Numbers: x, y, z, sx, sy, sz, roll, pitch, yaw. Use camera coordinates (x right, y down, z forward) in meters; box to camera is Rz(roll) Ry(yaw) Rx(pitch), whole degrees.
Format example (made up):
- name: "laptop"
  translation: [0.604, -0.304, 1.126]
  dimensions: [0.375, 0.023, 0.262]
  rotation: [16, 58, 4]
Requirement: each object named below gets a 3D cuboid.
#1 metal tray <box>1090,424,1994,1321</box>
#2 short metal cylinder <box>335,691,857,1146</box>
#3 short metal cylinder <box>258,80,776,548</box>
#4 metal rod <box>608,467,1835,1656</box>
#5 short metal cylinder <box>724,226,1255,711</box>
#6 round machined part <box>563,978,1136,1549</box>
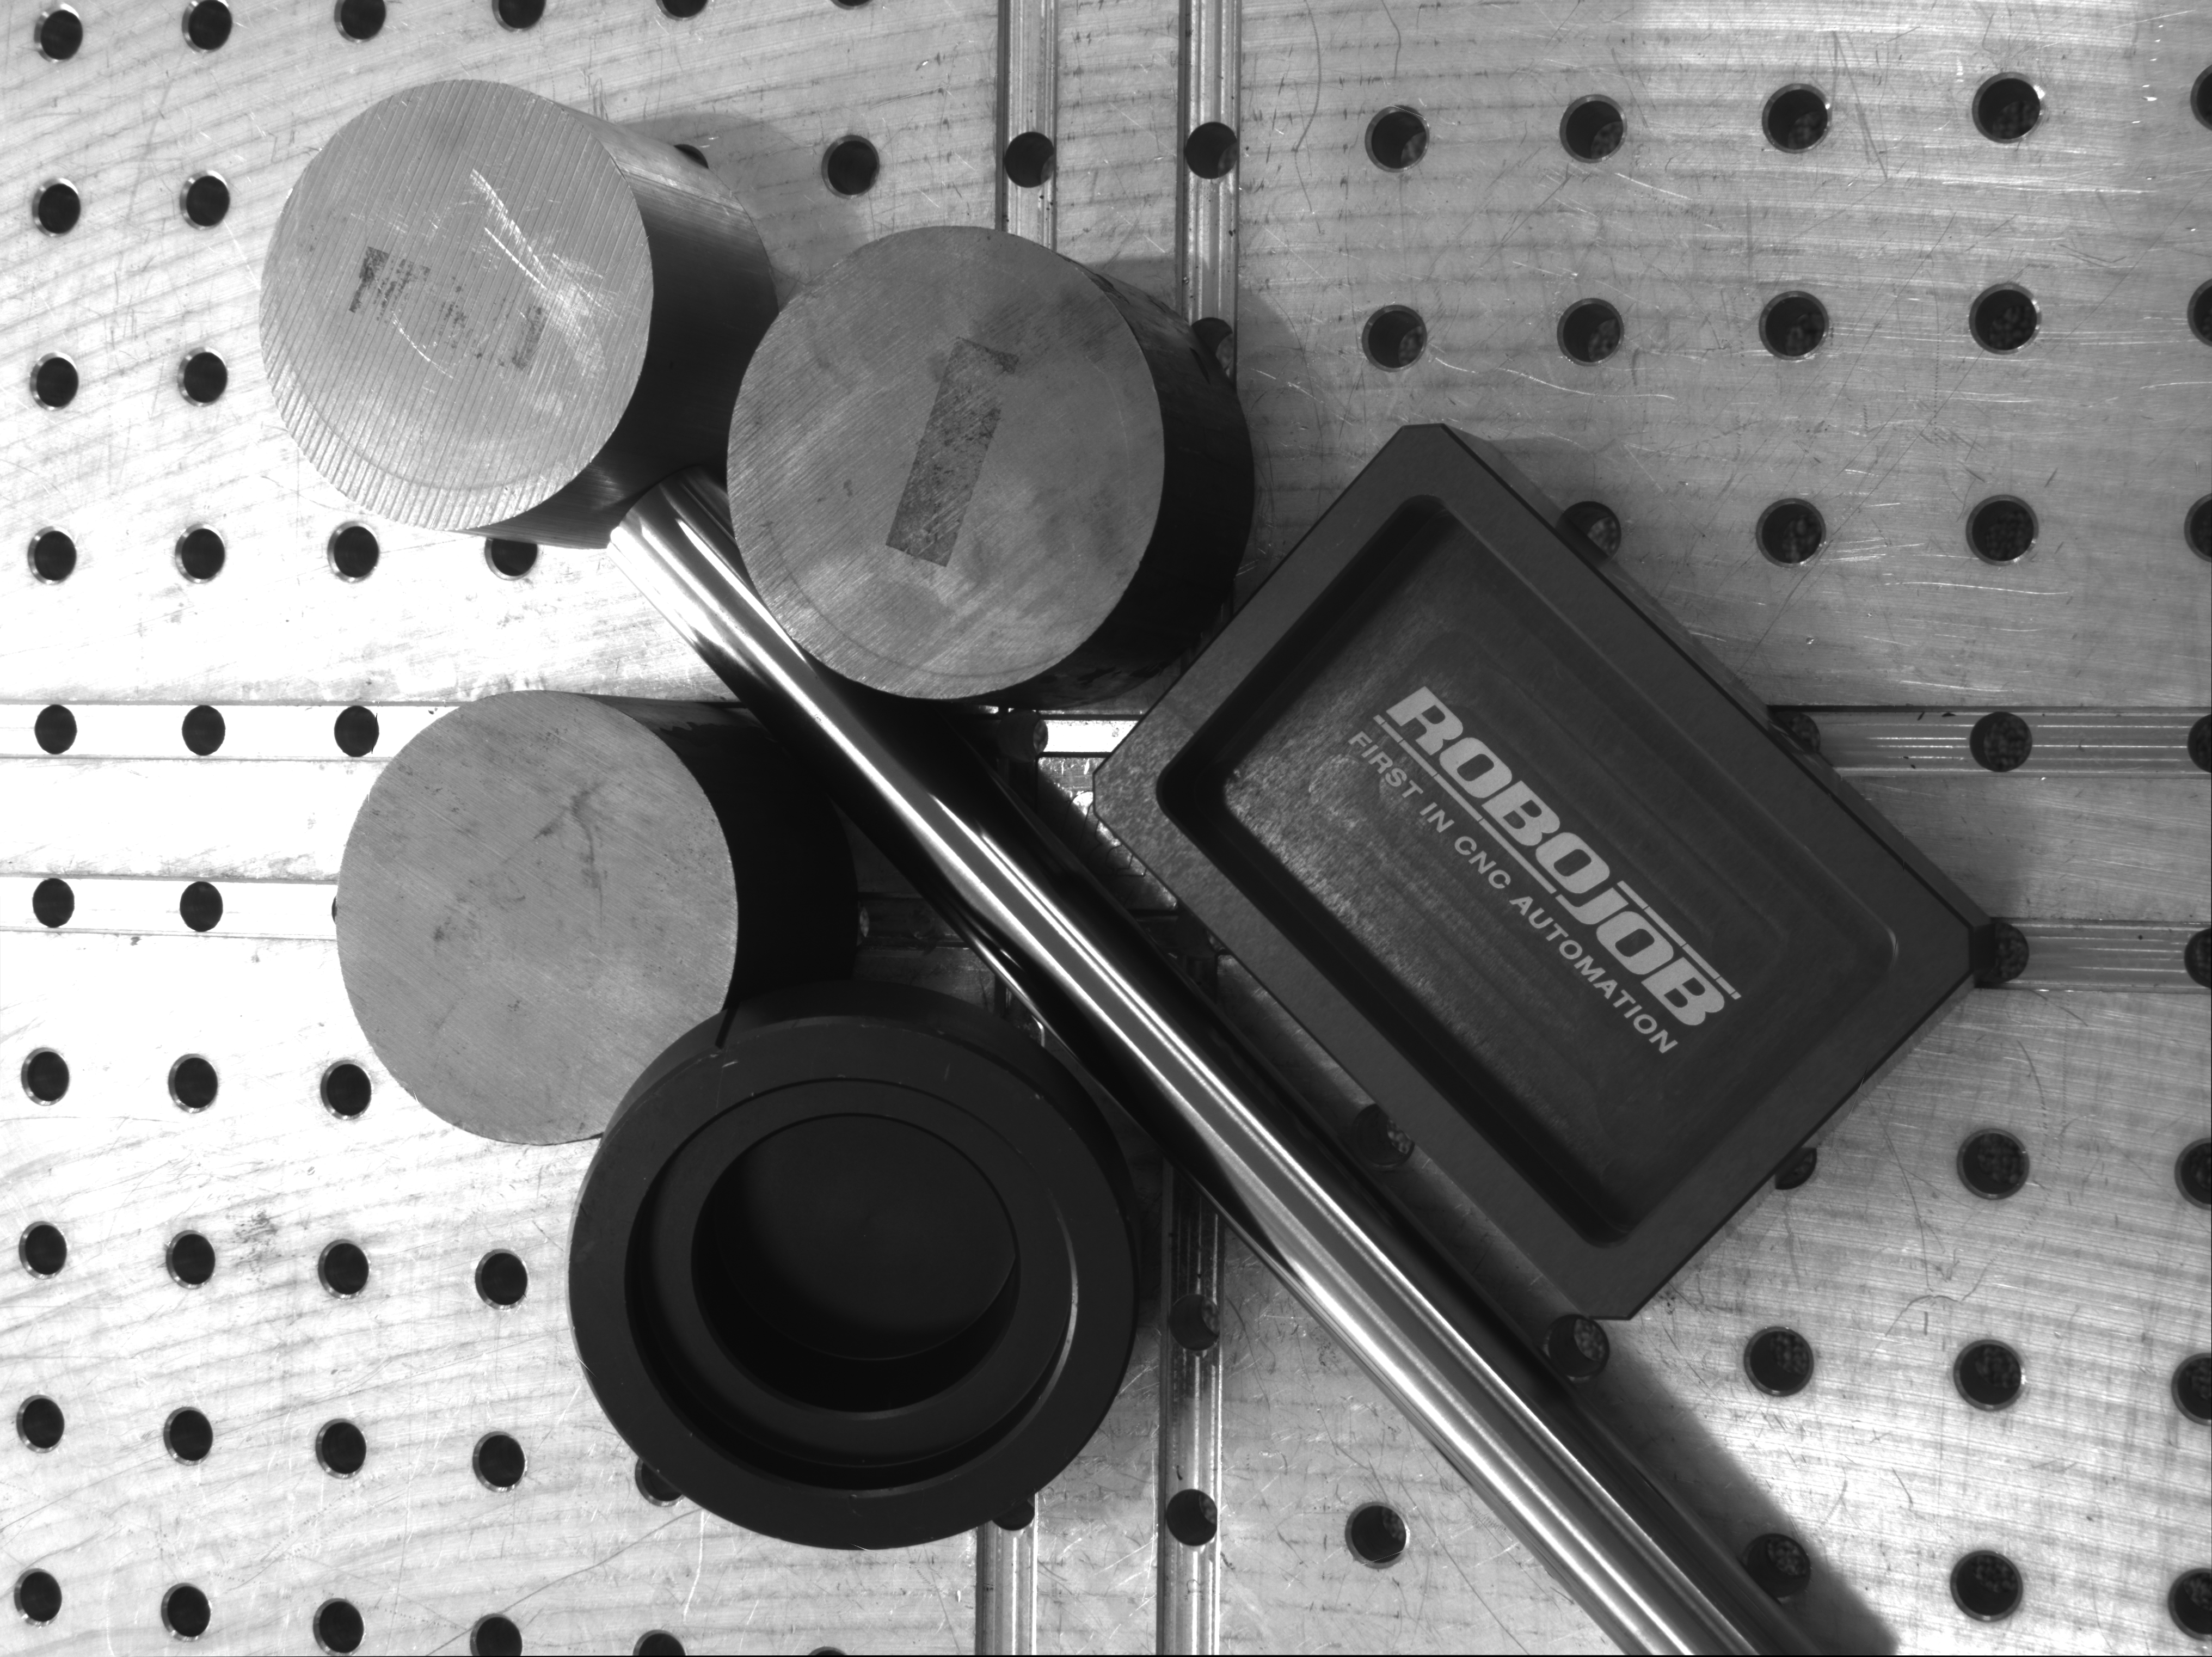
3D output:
- name: "metal tray"
  translation: [0.072, 0.007, 0.619]
  dimensions: [0.130, 0.030, 0.090]
  rotation: [45, 105, 14]
- name: "short metal cylinder"
  translation: [-0.092, 0.016, 0.669]
  dimensions: [0.080, 0.050, 0.080]
  rotation: [0, 90, 20]
- name: "short metal cylinder"
  translation: [-0.107, -0.093, 0.675]
  dimensions: [0.080, 0.050, 0.080]
  rotation: [0, 90, 20]
- name: "metal rod"
  translation: [0.018, 0.047, 0.642]
  dimensions: [0.300, 0.025, 0.025]
  rotation: [46, 104, 14]
- name: "short metal cylinder"
  translation: [-0.020, -0.061, 0.642]
  dimensions: [0.080, 0.050, 0.080]
  rotation: [0, 90, 20]
- name: "round machined part"
  translation: [-0.043, 0.073, 0.644]
  dimensions: [0.098, 0.042, 0.098]
  rotation: [0, 105, 1]
